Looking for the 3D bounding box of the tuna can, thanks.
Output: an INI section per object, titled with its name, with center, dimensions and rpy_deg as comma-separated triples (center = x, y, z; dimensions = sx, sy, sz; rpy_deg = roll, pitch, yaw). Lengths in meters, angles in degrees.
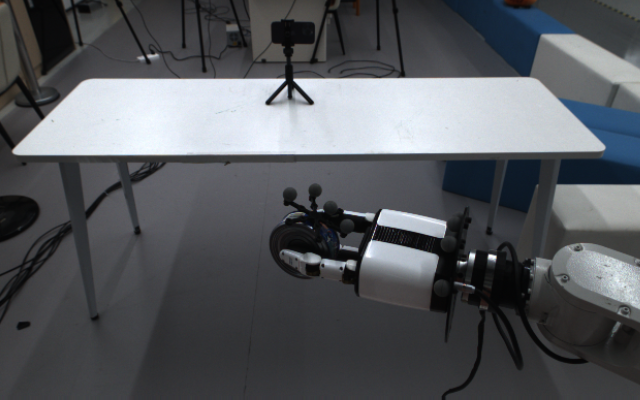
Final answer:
[tuna can]
center = -0.017, 0.064, 0.611
dimensions = 0.085, 0.085, 0.034
rpy_deg = 15, 31, 18
